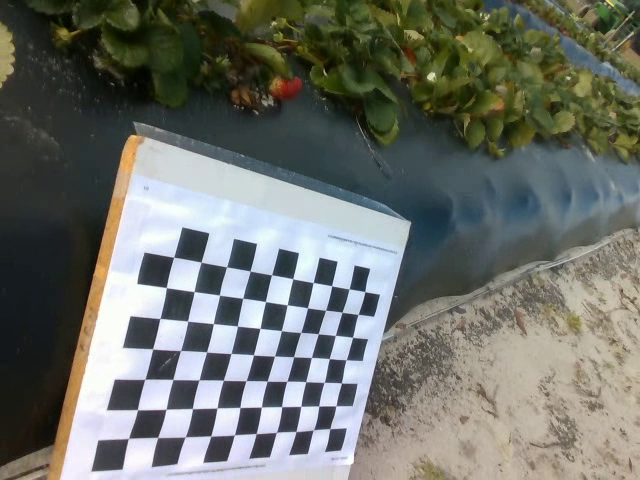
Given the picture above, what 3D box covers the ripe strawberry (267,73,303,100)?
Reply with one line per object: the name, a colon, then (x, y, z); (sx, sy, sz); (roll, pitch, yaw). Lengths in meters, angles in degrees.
ripe strawberry: (-0.025, -0.108, 0.413); (0.027, 0.022, 0.021); (-15, 29, -28)
